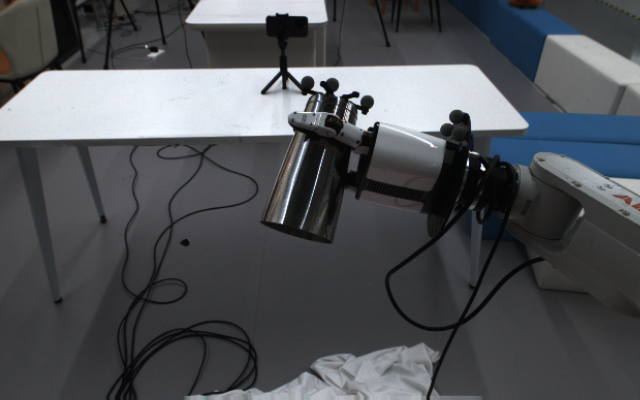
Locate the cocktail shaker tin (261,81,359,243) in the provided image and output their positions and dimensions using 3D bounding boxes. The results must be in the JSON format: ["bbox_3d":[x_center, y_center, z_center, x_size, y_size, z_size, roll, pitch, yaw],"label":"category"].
[{"bbox_3d":[-0.003,-0.043,0.601,0.093,0.093,0.170,13,79,15],"label":"cocktail shaker tin"}]
